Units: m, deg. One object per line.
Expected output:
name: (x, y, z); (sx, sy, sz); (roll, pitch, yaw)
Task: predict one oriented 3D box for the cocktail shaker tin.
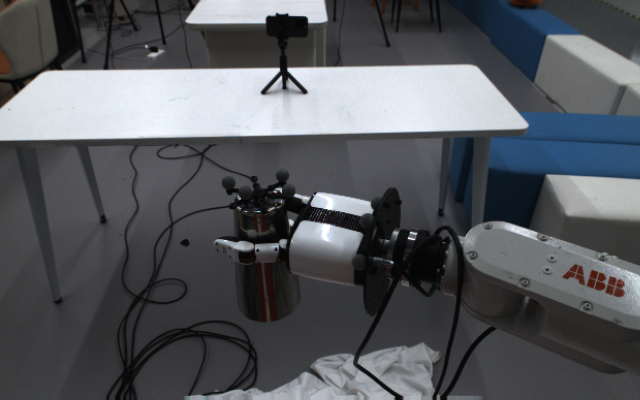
cocktail shaker tin: (-0.071, 0.069, 0.659); (0.093, 0.170, 0.093); (-1, 32, 1)
